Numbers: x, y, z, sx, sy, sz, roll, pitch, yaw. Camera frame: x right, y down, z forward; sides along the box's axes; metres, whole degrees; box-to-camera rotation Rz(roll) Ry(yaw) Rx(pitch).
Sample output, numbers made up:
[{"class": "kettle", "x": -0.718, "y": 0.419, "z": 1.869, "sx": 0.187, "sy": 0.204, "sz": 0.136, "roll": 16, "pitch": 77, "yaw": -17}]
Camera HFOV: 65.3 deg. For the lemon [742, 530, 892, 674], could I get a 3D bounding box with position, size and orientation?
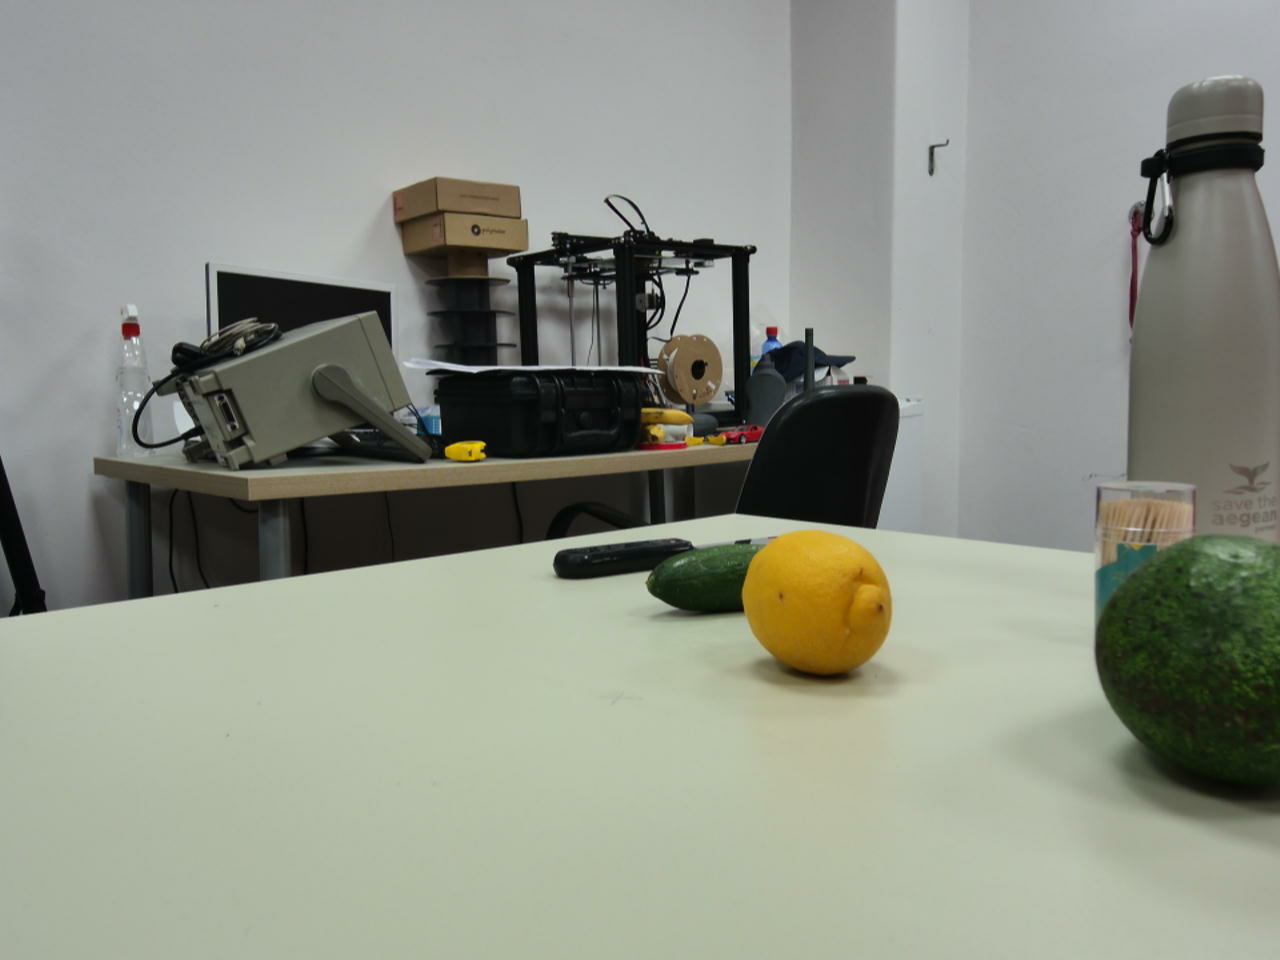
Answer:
[{"class": "lemon", "x": 0.075, "y": 0.052, "z": 0.431, "sx": 0.061, "sy": 0.059, "sz": 0.067, "roll": 0, "pitch": 3, "yaw": 2}]
